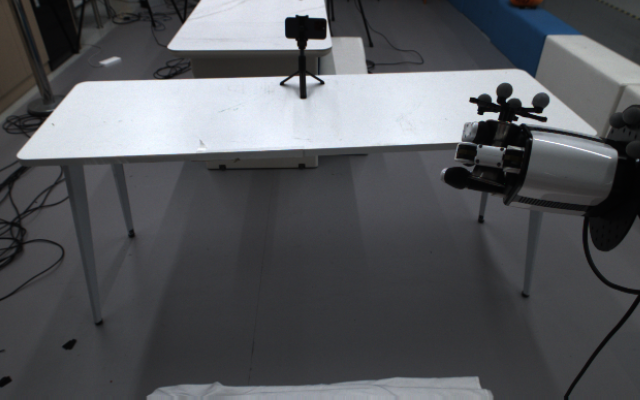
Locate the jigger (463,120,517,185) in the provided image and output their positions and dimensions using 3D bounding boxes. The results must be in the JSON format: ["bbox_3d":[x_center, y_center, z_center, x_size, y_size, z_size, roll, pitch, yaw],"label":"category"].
[{"bbox_3d":[0.200,-0.054,0.552,0.043,0.071,0.043,17,2,-1],"label":"jigger"}]
